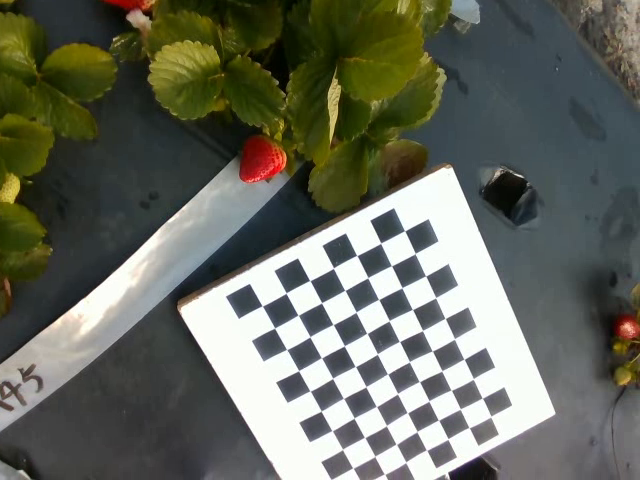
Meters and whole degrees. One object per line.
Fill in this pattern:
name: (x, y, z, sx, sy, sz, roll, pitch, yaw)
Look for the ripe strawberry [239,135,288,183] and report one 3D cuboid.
ripe strawberry: (-0.047, -0.059, 0.457, 0.055, 0.050, 0.035, -40, 23, -16)
